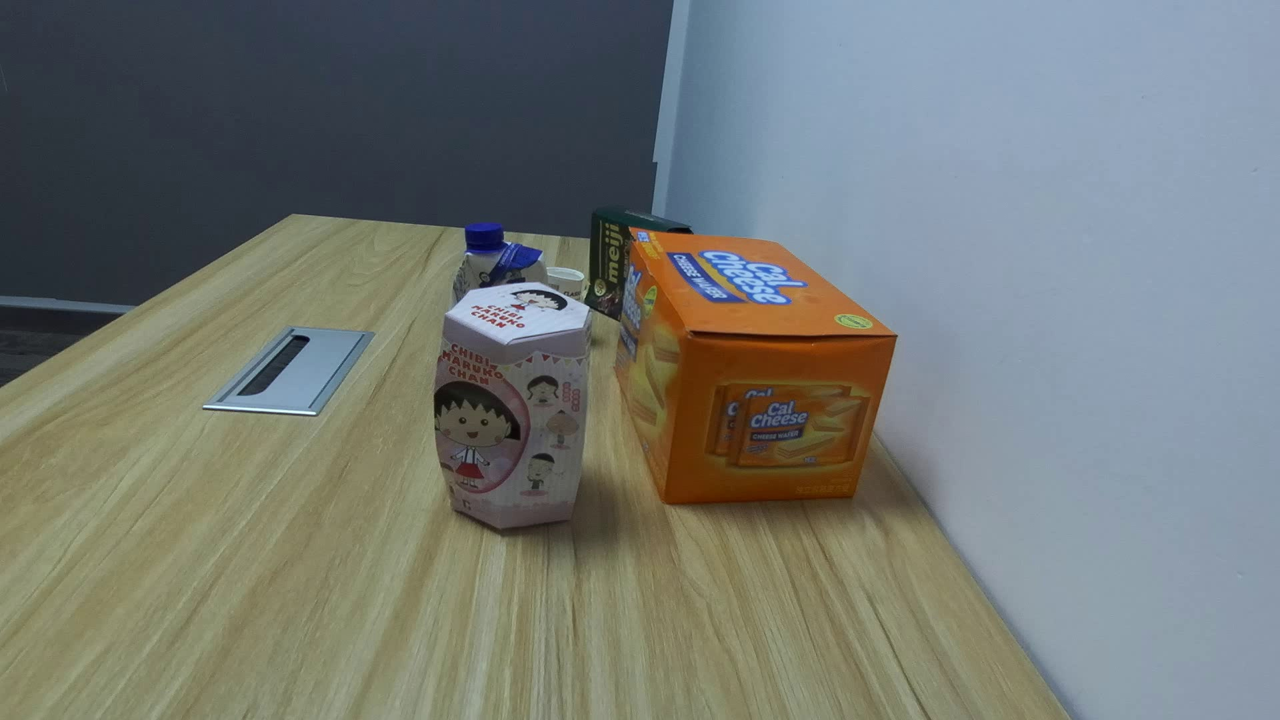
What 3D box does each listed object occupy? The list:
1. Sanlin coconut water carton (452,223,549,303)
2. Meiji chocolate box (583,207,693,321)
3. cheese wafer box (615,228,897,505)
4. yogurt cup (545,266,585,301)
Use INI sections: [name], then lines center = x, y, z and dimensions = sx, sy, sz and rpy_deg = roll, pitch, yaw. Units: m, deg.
[Sanlin coconut water carton]
center = -0.111, -0.031, 0.556
dimensions = 0.068, 0.144, 0.057
rpy_deg = 14, 28, 7
[Meiji chocolate box]
center = -0.003, -0.096, 0.744
dimensions = 0.059, 0.116, 0.122
rpy_deg = -11, 28, -40
[cheese wafer box]
center = 0.072, -0.008, 0.558
dimensions = 0.150, 0.137, 0.226
rpy_deg = 1, 25, -12
[yogurt cup]
center = -0.093, -0.062, 0.693
dimensions = 0.075, 0.071, 0.053
rpy_deg = 10, 28, 3
